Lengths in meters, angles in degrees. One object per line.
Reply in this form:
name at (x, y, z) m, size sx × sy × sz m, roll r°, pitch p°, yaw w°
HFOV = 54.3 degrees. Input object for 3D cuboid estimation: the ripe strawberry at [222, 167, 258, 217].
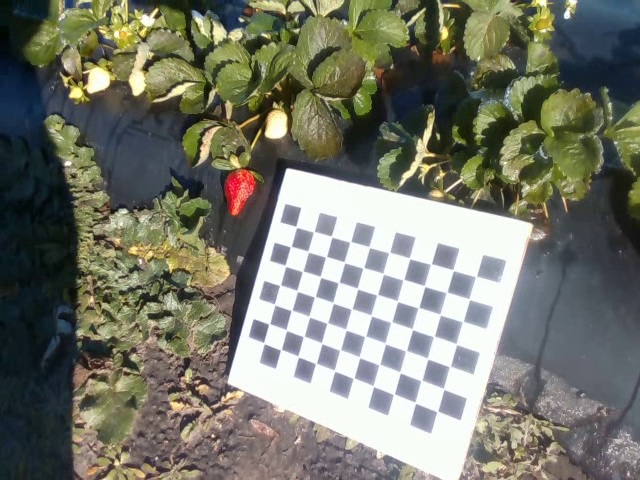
ripe strawberry at (-0.102, -0.059, 0.759) m, size 0.048 × 0.069 × 0.040 m, roll -5°, pitch -15°, yaw 26°
